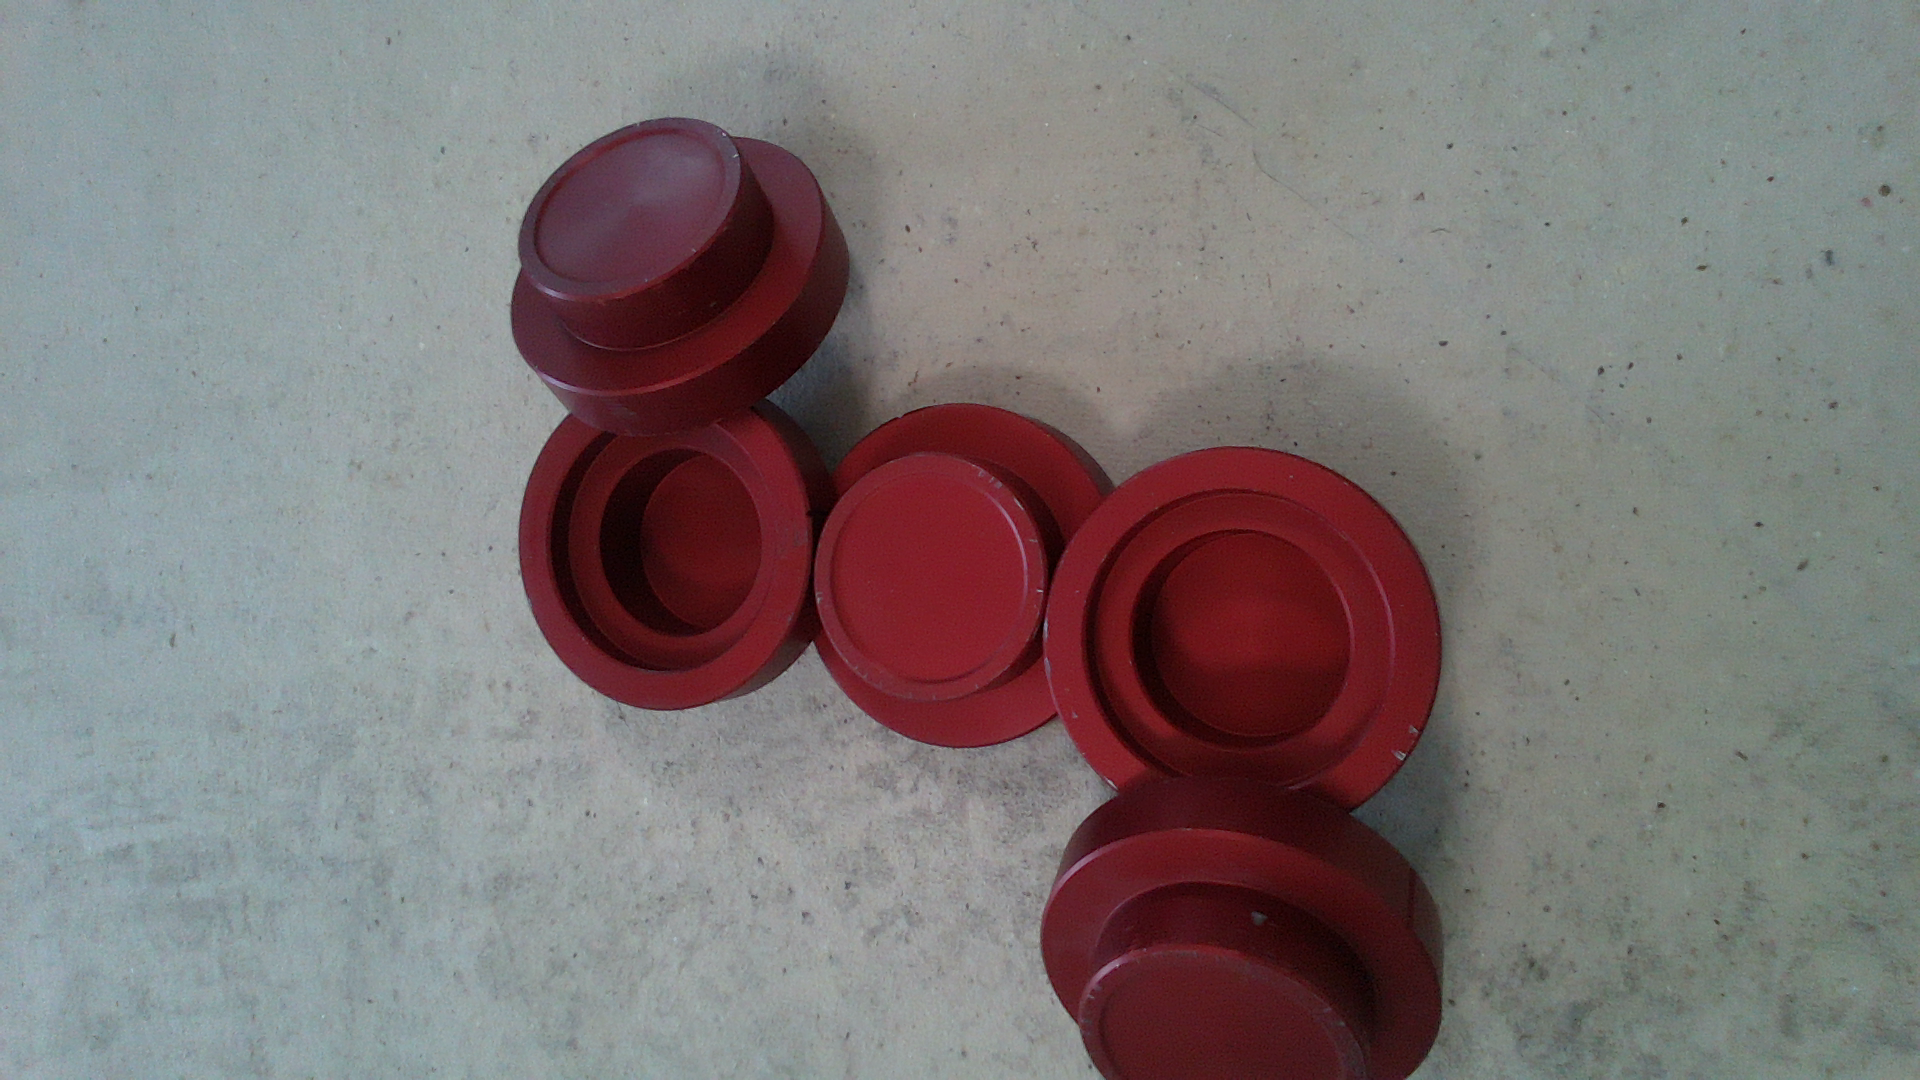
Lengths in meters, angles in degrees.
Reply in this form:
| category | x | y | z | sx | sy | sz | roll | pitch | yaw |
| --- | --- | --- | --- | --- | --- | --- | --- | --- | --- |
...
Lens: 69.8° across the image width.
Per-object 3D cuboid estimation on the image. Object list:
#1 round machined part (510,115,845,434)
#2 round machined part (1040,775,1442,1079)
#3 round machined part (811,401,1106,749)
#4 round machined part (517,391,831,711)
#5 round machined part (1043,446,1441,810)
| category | x | y | z | sx | sy | sz | roll | pitch | yaw |
| --- | --- | --- | --- | --- | --- | --- | --- | --- | --- |
| round machined part | -0.085 | -0.082 | 0.394 | 0.098 | 0.042 | 0.098 | -9 | 57 | 14 |
| round machined part | 0.067 | 0.109 | 0.339 | 0.098 | 0.042 | 0.098 | 9 | 122 | 15 |
| round machined part | -0.002 | 0.009 | 0.386 | 0.098 | 0.042 | 0.098 | -1 | 87 | 21 |
| round machined part | -0.080 | 0.000 | 0.416 | 0.098 | 0.042 | 0.098 | 0 | 90 | 21 |
| round machined part | 0.075 | 0.025 | 0.359 | 0.098 | 0.042 | 0.098 | 0 | 90 | 21 |
